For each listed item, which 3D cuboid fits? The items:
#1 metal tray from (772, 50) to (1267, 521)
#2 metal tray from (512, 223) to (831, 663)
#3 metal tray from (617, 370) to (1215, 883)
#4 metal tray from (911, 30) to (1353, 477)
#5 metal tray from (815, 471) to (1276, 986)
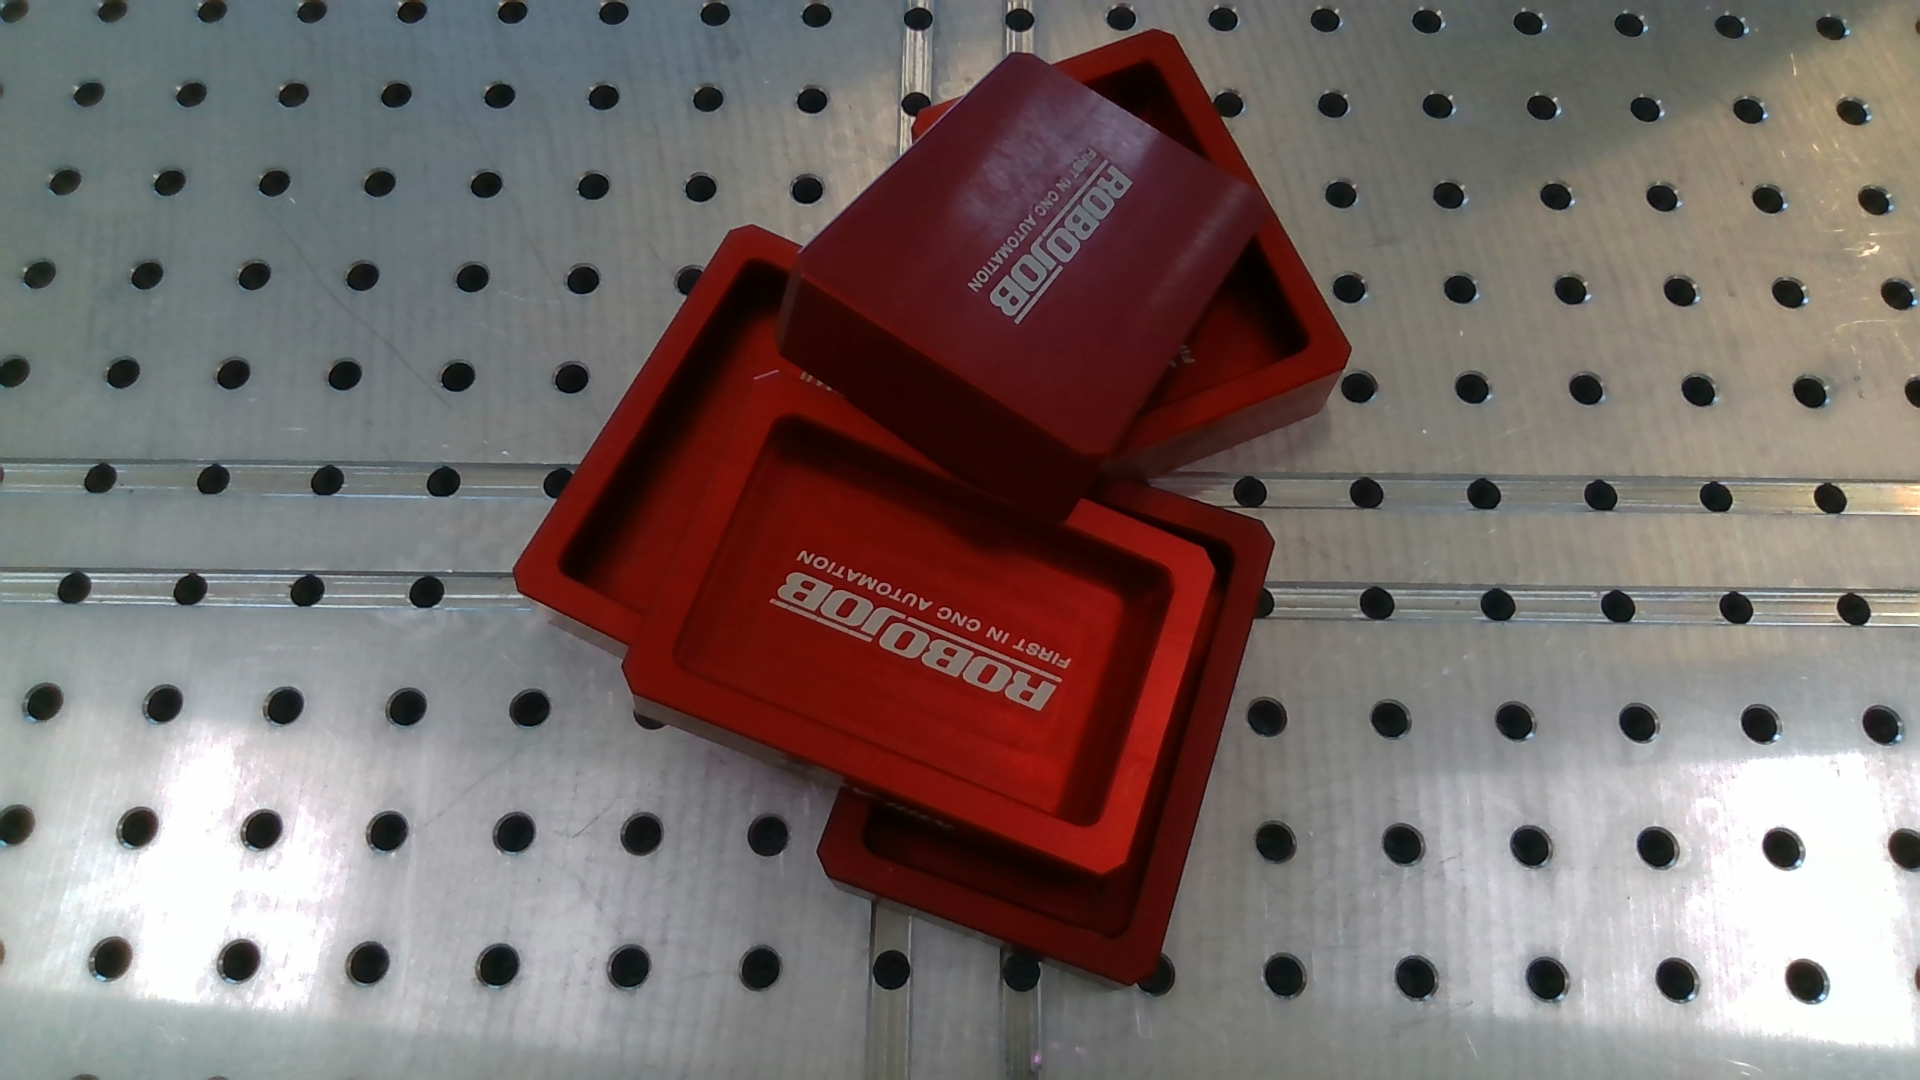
[{"bbox_3d":[0.021,-0.075,0.379,0.090,0.030,0.130,33,51,3],"label":"metal tray"},{"bbox_3d":[-0.056,-0.019,0.402,0.090,0.030,0.130,25,72,9],"label":"metal tray"},{"bbox_3d":[-0.010,0.023,0.354,0.130,0.030,0.090,22,71,-4],"label":"metal tray"},{"bbox_3d":[0.050,-0.087,0.426,0.090,0.030,0.130,-21,71,-8],"label":"metal tray"},{"bbox_3d":[0.025,0.044,0.378,0.090,0.030,0.130,18,71,6],"label":"metal tray"}]
